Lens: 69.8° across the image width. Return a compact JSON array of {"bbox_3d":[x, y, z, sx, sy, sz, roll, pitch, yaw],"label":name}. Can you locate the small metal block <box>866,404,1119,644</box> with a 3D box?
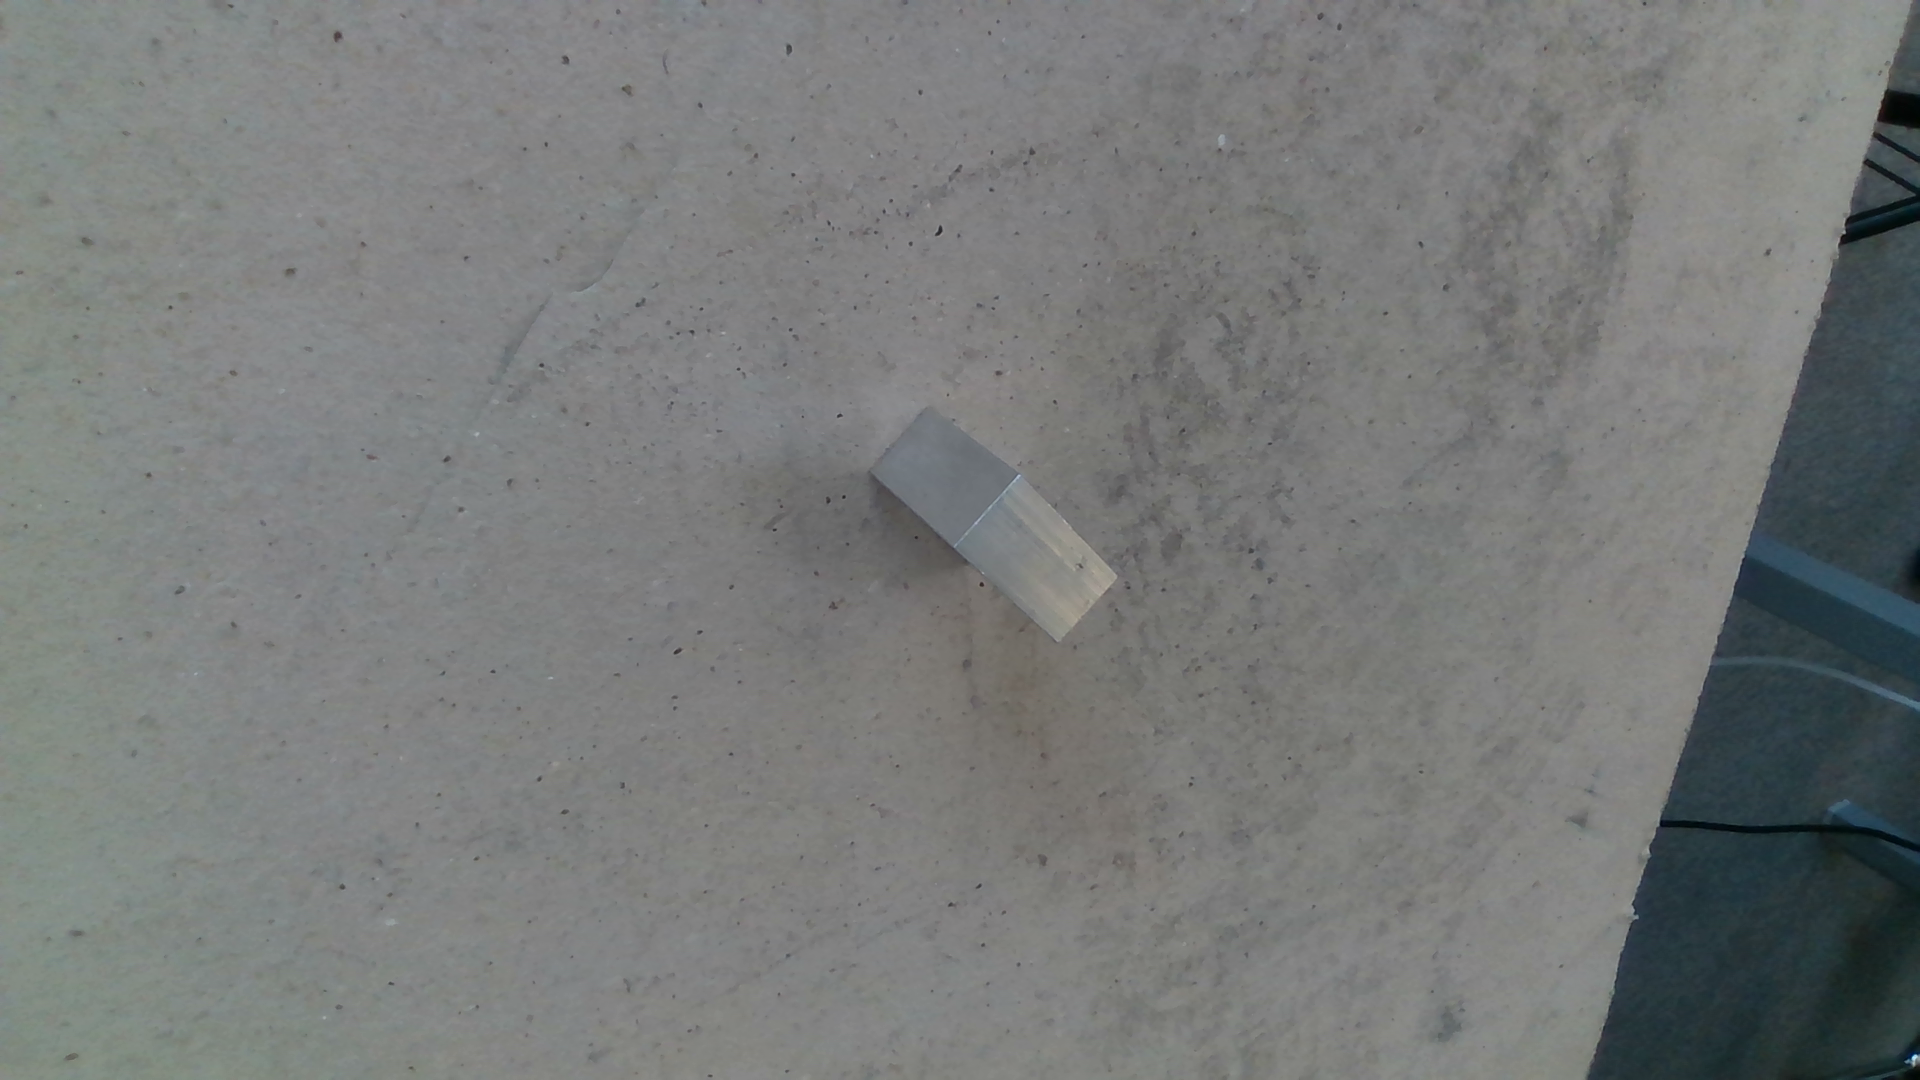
[{"bbox_3d":[0.009,-0.005,0.376,0.025,0.050,0.050,-48,130,-1],"label":"small metal block"}]
